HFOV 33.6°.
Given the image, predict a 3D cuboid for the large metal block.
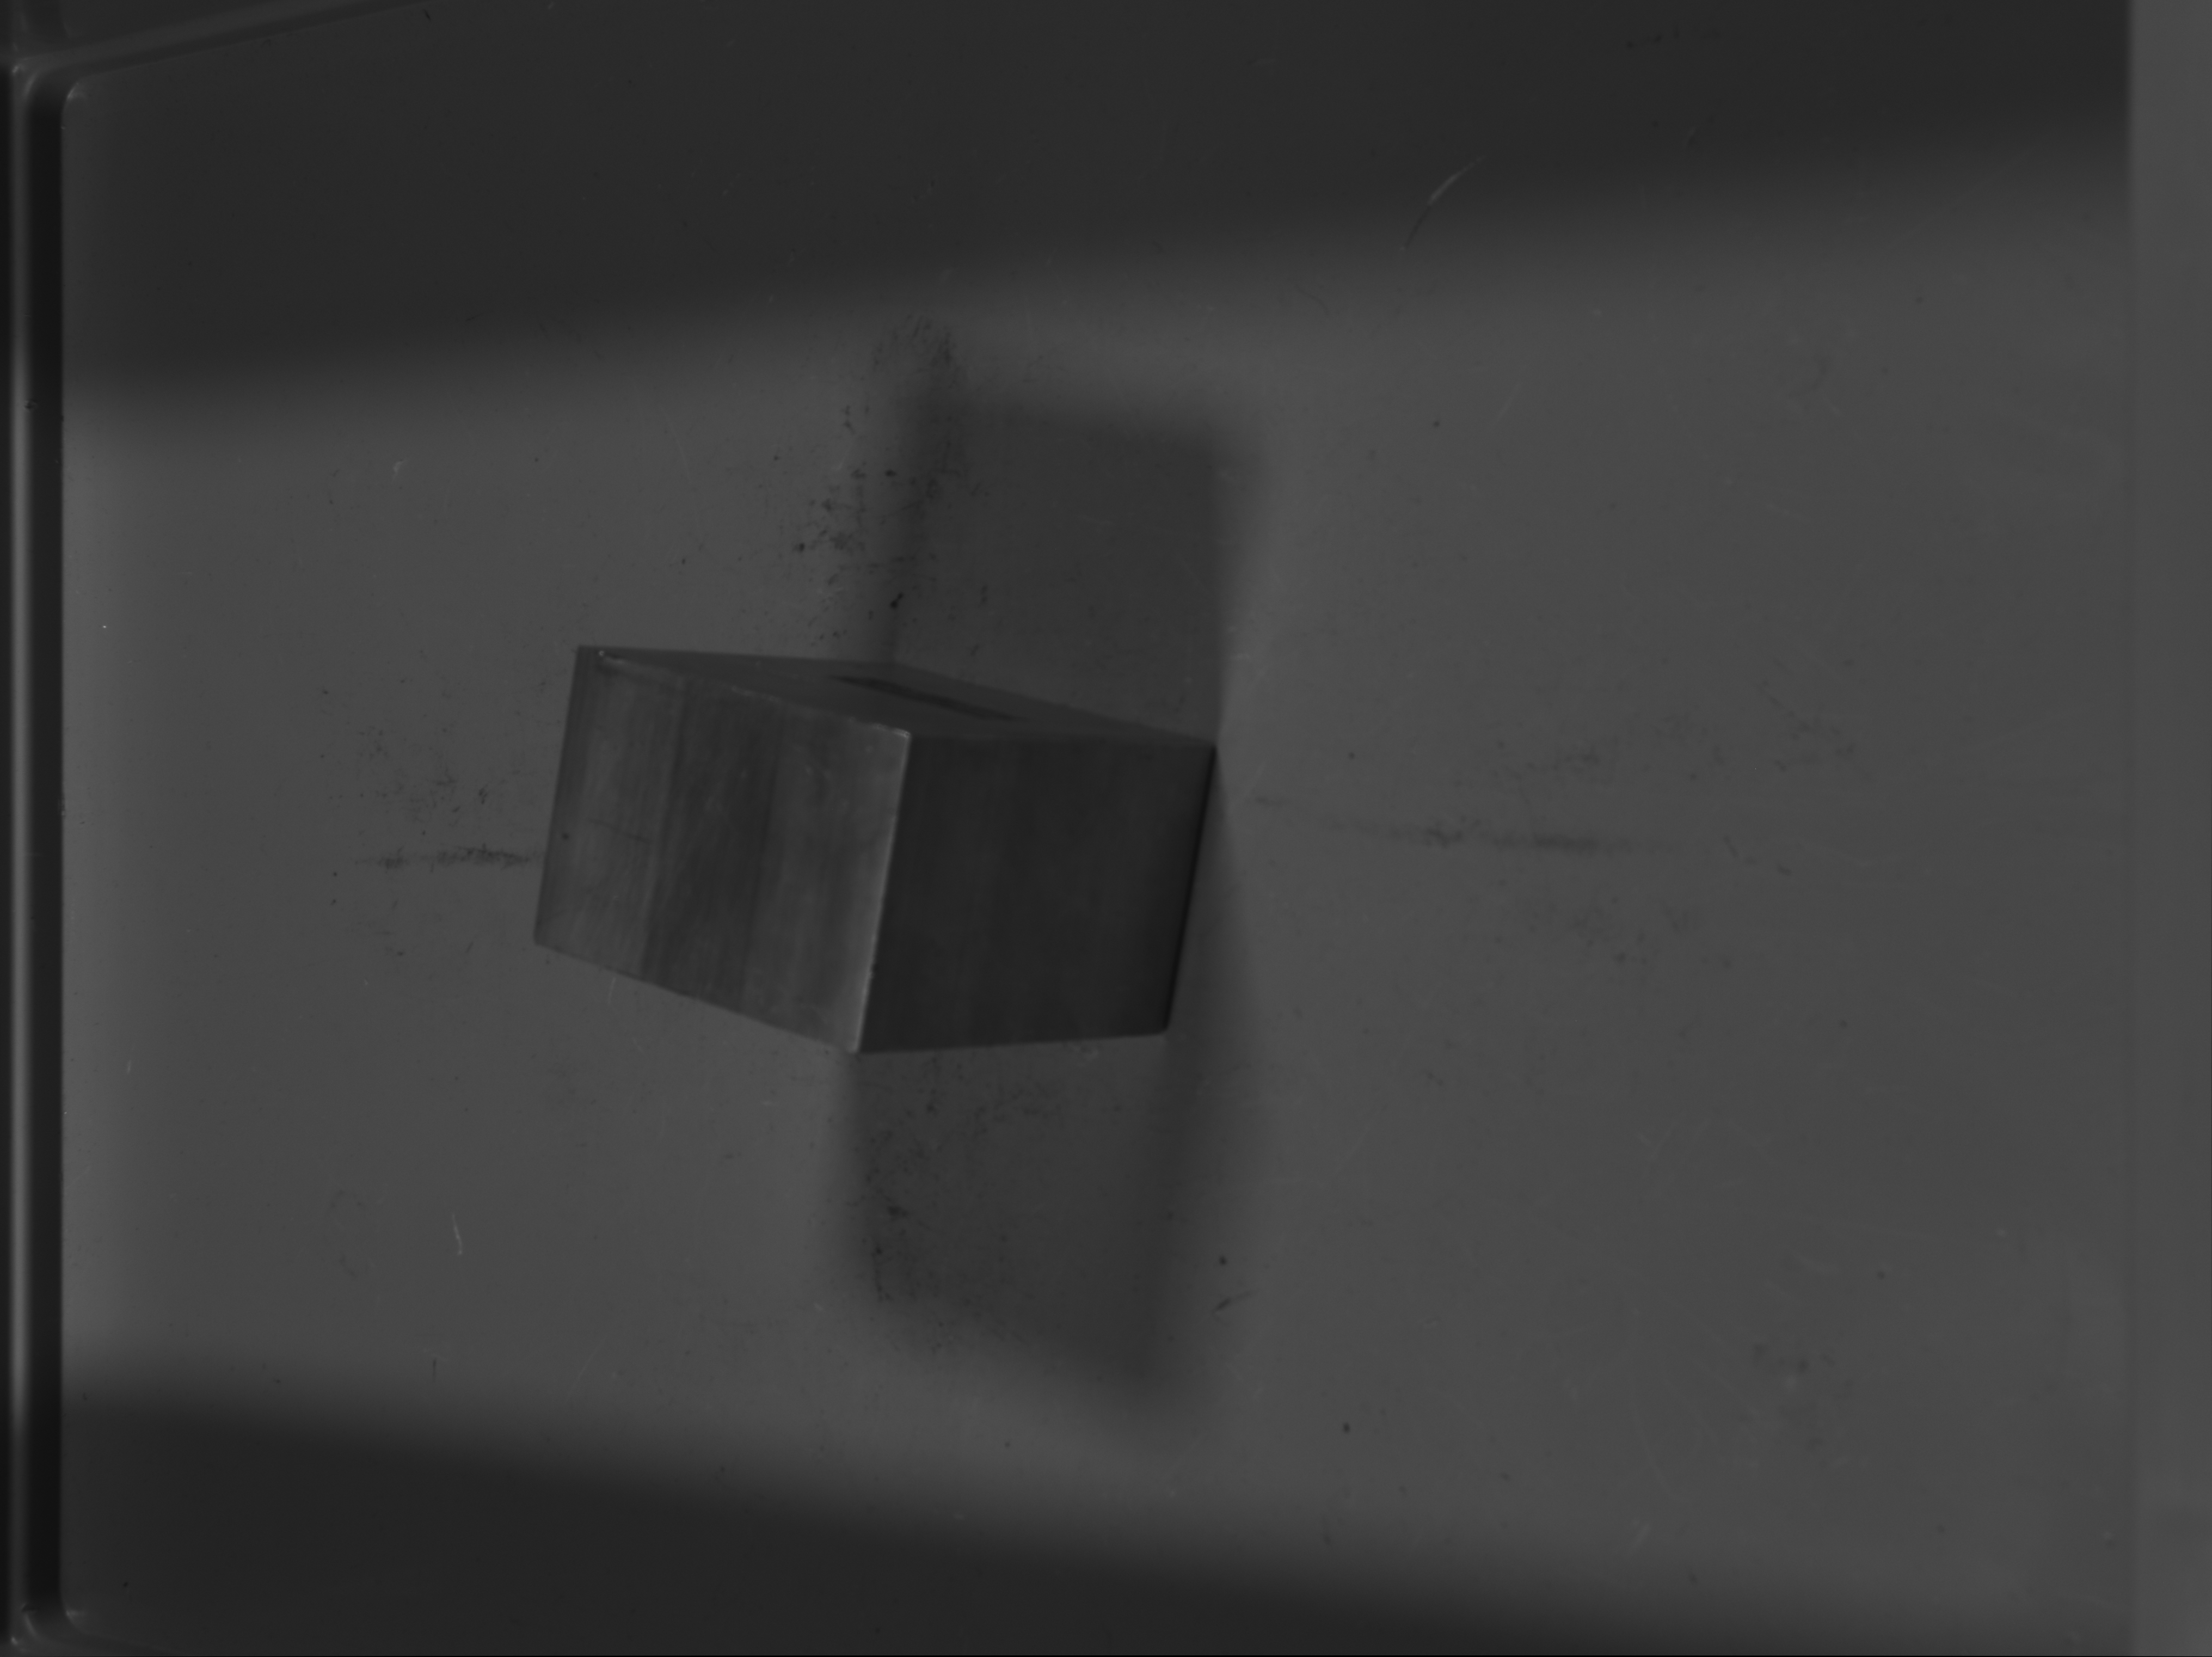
[{"bbox_3d":[-0.044,0.003,0.634,0.080,0.080,0.050,16,100,38],"label":"large metal block"}]
